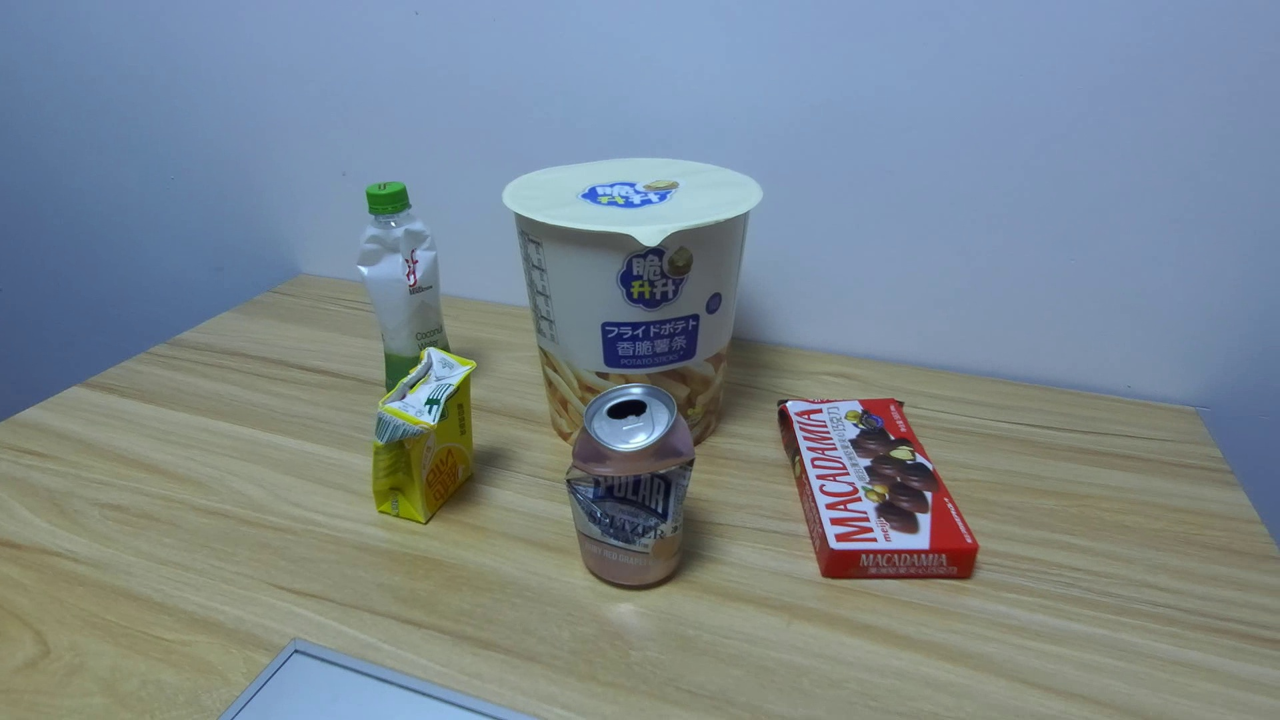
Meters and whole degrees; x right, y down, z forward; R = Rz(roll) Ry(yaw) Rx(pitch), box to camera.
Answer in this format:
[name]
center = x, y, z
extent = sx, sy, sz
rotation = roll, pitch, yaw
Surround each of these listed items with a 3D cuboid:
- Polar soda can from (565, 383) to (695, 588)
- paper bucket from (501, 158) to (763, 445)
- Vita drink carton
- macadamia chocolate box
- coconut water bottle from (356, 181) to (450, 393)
[Polar soda can]
center = -0.007, 0.079, 0.427
extent = 0.071, 0.122, 0.066
rotation = -12, 35, -19
[paper bucket]
center = -0.003, -0.041, 0.565
extent = 0.198, 0.195, 0.198
rotation = -1, 29, 1
[Vita drink carton]
center = -0.147, 0.054, 0.491
extent = 0.042, 0.108, 0.087
rotation = 22, 37, 11
[macadamia chocolate box]
center = 0.165, 0.083, 0.515
extent = 0.106, 0.028, 0.183
rotation = 0, 28, 2
[coconut water bottle]
center = -0.197, -0.051, 0.592
extent = 0.069, 0.186, 0.069
rotation = -1, 30, 1
